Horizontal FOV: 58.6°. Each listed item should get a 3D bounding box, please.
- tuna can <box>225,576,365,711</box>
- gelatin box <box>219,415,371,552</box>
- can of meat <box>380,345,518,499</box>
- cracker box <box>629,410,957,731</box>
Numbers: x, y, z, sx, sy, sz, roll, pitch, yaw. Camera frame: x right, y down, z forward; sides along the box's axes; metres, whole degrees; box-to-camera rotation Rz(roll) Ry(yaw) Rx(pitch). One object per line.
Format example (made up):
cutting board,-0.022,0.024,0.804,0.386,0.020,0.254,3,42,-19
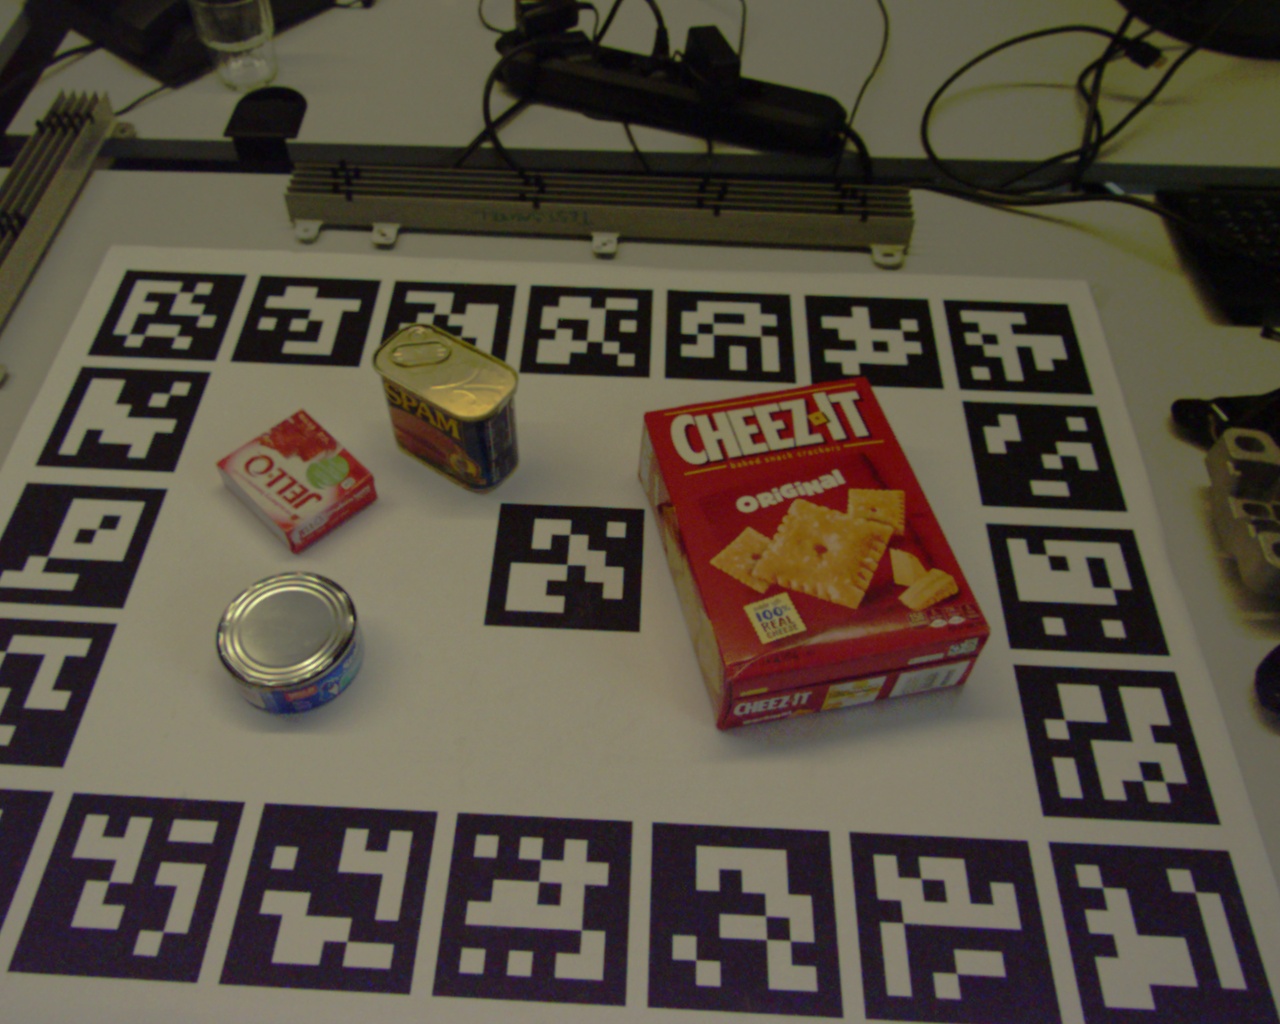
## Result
tuna can,-0.227,0.087,0.754,0.086,0.033,0.086,0,54,0
gelatin box,-0.256,-0.023,0.848,0.090,0.030,0.073,39,57,23
can of meat,-0.141,-0.066,0.860,0.103,0.083,0.057,27,55,20
cracker box,0.097,0.031,0.793,0.163,0.072,0.215,-10,51,-11
